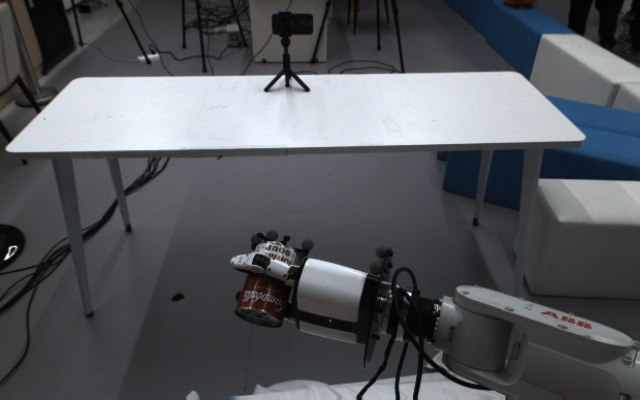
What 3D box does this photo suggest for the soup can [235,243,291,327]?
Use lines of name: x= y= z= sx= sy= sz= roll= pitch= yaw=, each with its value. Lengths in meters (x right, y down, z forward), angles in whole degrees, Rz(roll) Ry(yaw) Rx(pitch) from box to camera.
soup can: x=-0.070 y=0.116 z=0.667 sx=0.067 sy=0.067 sz=0.101 roll=9 pitch=58 yaw=10
